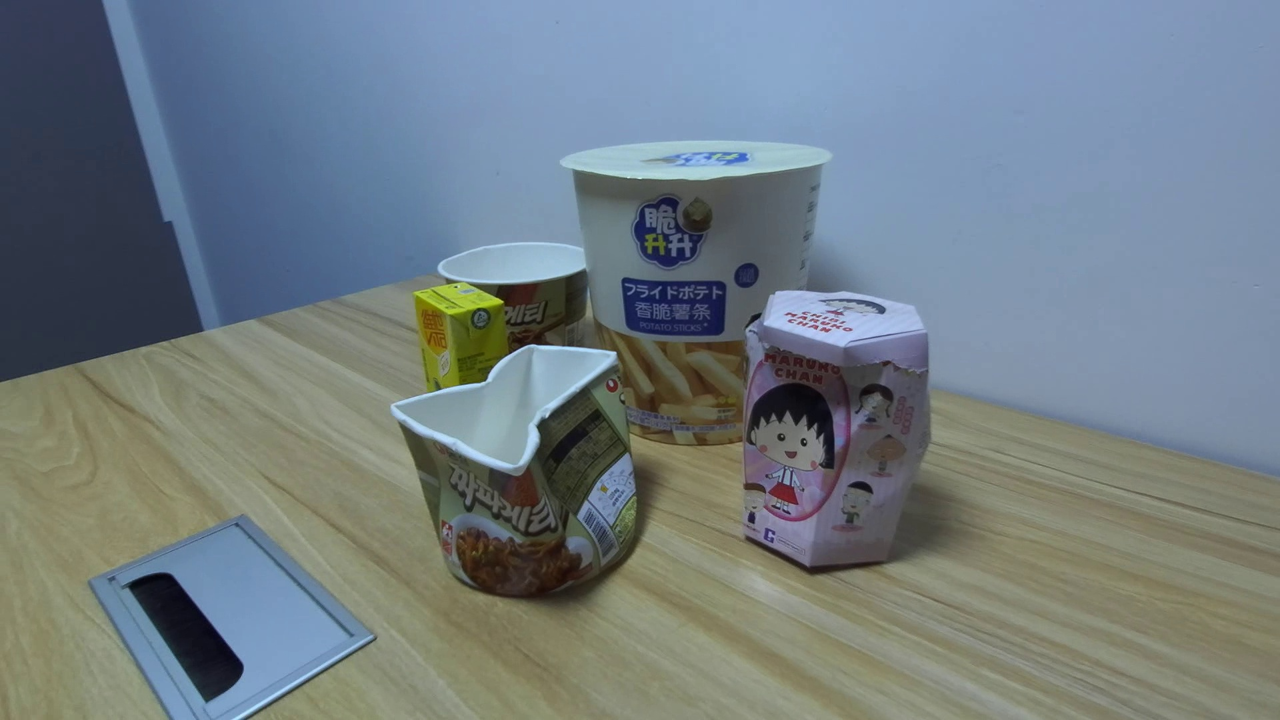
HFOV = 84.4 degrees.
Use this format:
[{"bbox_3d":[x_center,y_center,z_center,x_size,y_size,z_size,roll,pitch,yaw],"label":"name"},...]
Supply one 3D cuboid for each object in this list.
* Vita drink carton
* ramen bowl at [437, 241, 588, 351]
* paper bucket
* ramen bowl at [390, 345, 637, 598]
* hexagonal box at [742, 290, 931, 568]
[{"bbox_3d":[-0.126,0.004,0.516,0.044,0.109,0.066,-18,28,-34],"label":"Vita drink carton"},{"bbox_3d":[-0.109,-0.049,0.663,0.140,0.095,0.140,-2,24,1],"label":"ramen bowl"},{"bbox_3d":[0.043,-0.055,0.533,0.198,0.194,0.198,-1,23,1],"label":"paper bucket"},{"bbox_3d":[-0.056,0.057,0.401,0.111,0.093,0.129,15,29,34],"label":"ramen bowl"},{"bbox_3d":[0.104,0.036,0.392,0.090,0.134,0.091,-1,22,-5],"label":"hexagonal box"}]
